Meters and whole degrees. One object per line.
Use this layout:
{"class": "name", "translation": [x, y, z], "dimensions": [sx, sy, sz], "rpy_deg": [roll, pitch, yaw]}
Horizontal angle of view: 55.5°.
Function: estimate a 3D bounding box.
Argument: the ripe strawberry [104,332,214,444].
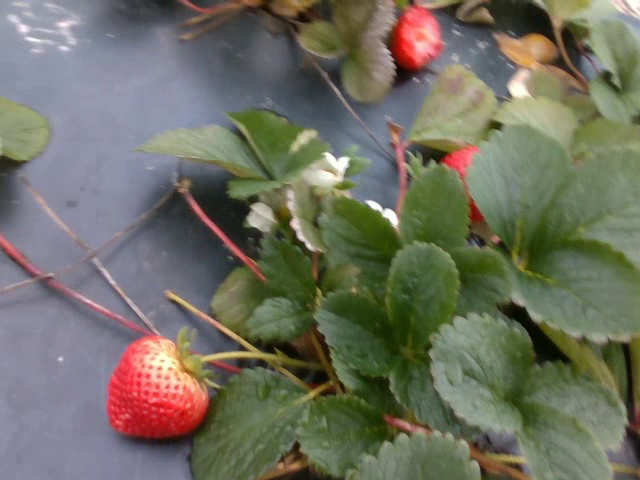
{"class": "ripe strawberry", "translation": [-0.097, 0.084, 0.331], "dimensions": [0.061, 0.065, 0.050], "rpy_deg": [43, 3, -4]}
